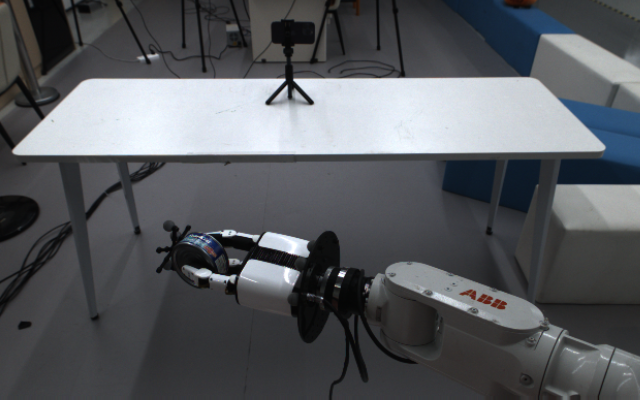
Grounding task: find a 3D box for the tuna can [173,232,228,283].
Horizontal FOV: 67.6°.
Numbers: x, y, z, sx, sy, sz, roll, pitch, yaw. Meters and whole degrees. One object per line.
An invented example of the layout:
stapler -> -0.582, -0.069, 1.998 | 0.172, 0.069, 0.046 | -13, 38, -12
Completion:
tuna can -> -0.182, 0.091, 0.742 | 0.085, 0.085, 0.034 | 14, 32, 16
